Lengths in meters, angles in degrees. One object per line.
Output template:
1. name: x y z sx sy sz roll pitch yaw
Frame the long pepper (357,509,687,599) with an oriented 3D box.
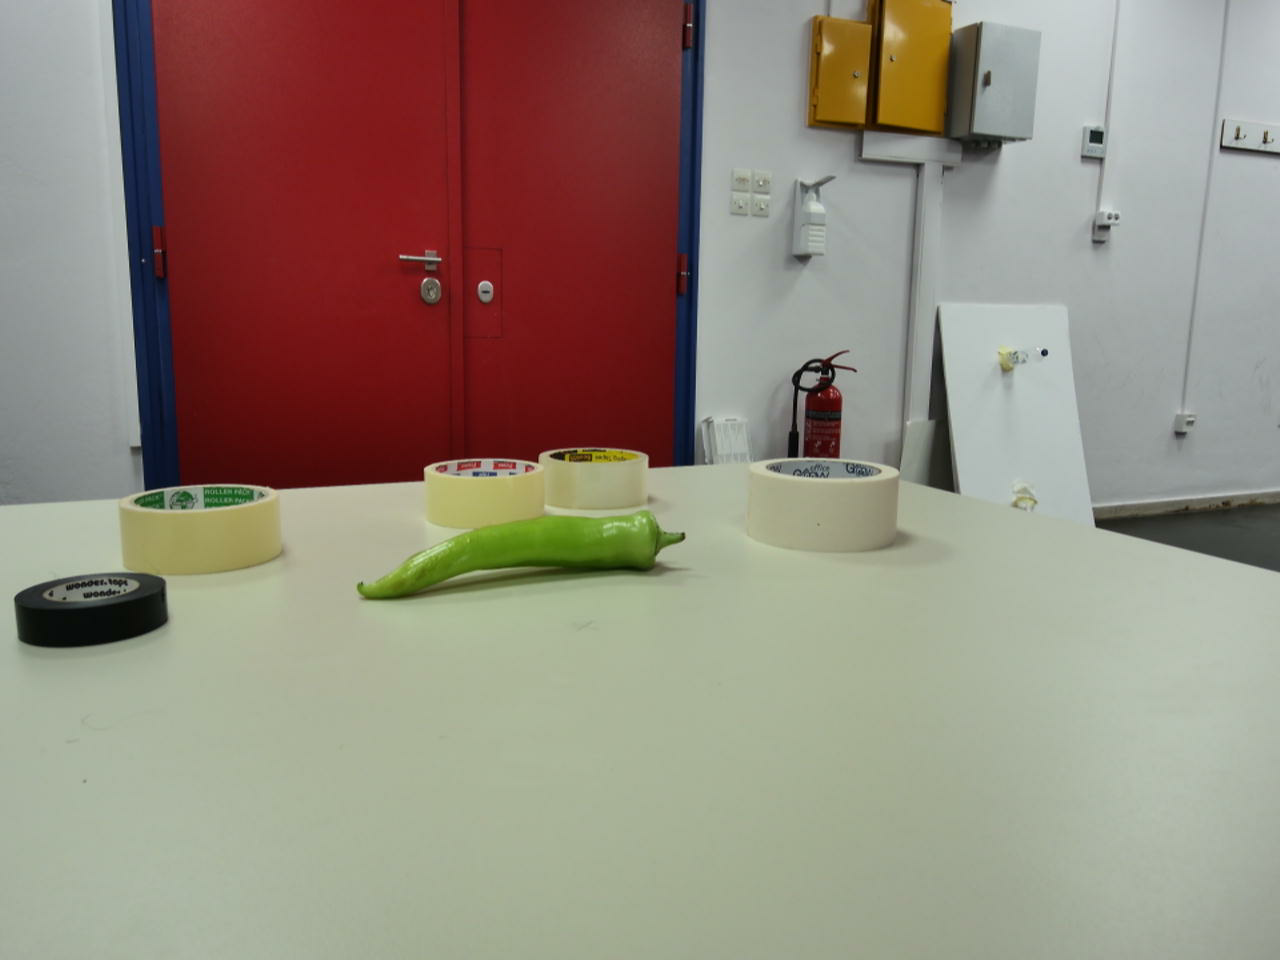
1. long pepper: -0.068 0.040 0.592 0.197 0.038 0.047 -3 8 -22
